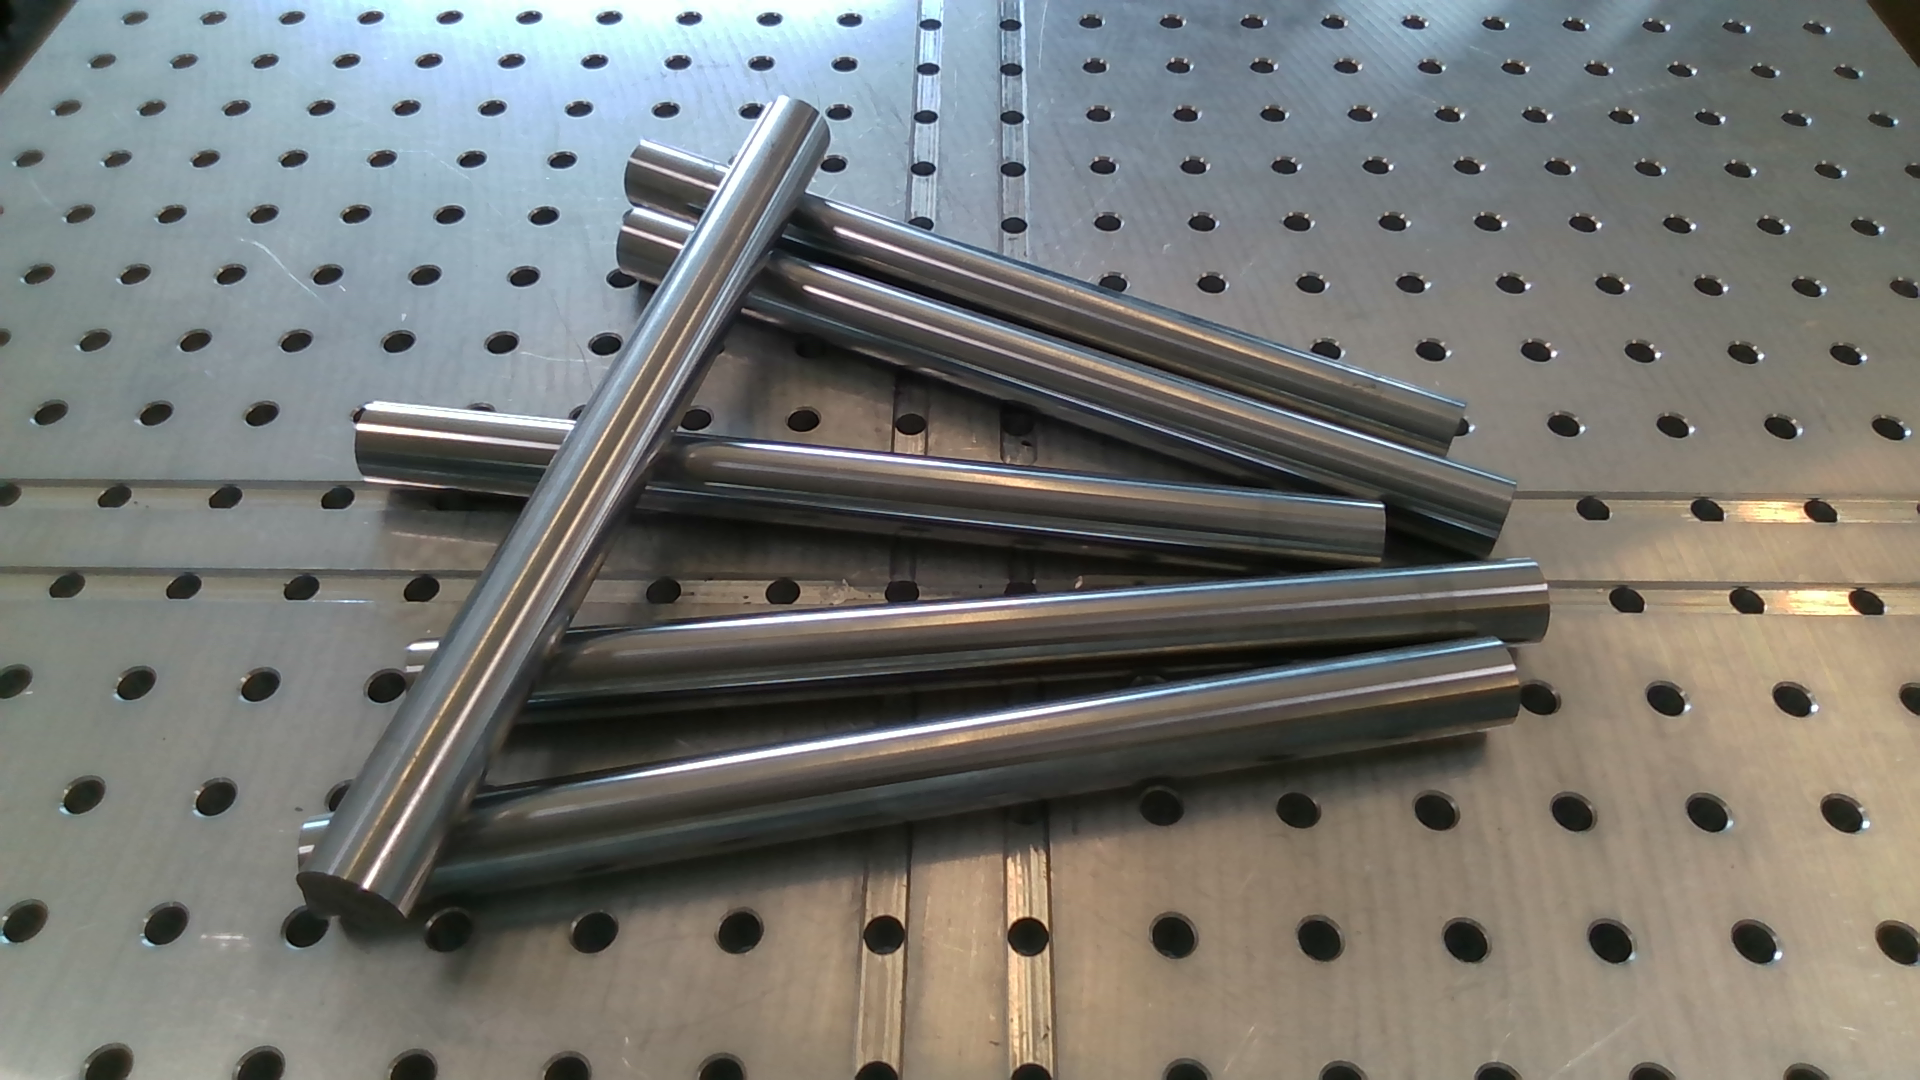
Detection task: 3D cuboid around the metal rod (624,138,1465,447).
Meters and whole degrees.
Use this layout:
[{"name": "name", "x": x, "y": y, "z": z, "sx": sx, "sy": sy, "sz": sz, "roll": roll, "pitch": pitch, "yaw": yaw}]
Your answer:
[{"name": "metal rod", "x": 0.017, "y": -0.084, "z": 0.466, "sx": 0.300, "sy": 0.025, "sz": 0.025, "roll": 21, "pitch": 53, "yaw": 17}]

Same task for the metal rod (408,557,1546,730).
[{"name": "metal rod", "x": 0.007, "y": 0.027, "z": 0.374, "sx": 0.300, "sy": 0.025, "sz": 0.025, "roll": -4, "pitch": 50, "yaw": -3}]

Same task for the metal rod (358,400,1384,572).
[{"name": "metal rod", "x": -0.030, "y": -0.015, "z": 0.410, "sx": 0.300, "sy": 0.025, "sz": 0.025, "roll": 6, "pitch": 50, "yaw": 5}]

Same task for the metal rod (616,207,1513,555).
[{"name": "metal rod", "x": 0.022, "y": -0.056, "z": 0.444, "sx": 0.300, "sy": 0.025, "sz": 0.025, "roll": 20, "pitch": 53, "yaw": 16}]

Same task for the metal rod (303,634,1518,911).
[{"name": "metal rod", "x": -0.006, "y": 0.057, "z": 0.349, "sx": 0.300, "sy": 0.025, "sz": 0.025, "roll": -8, "pitch": 51, "yaw": -6}]
